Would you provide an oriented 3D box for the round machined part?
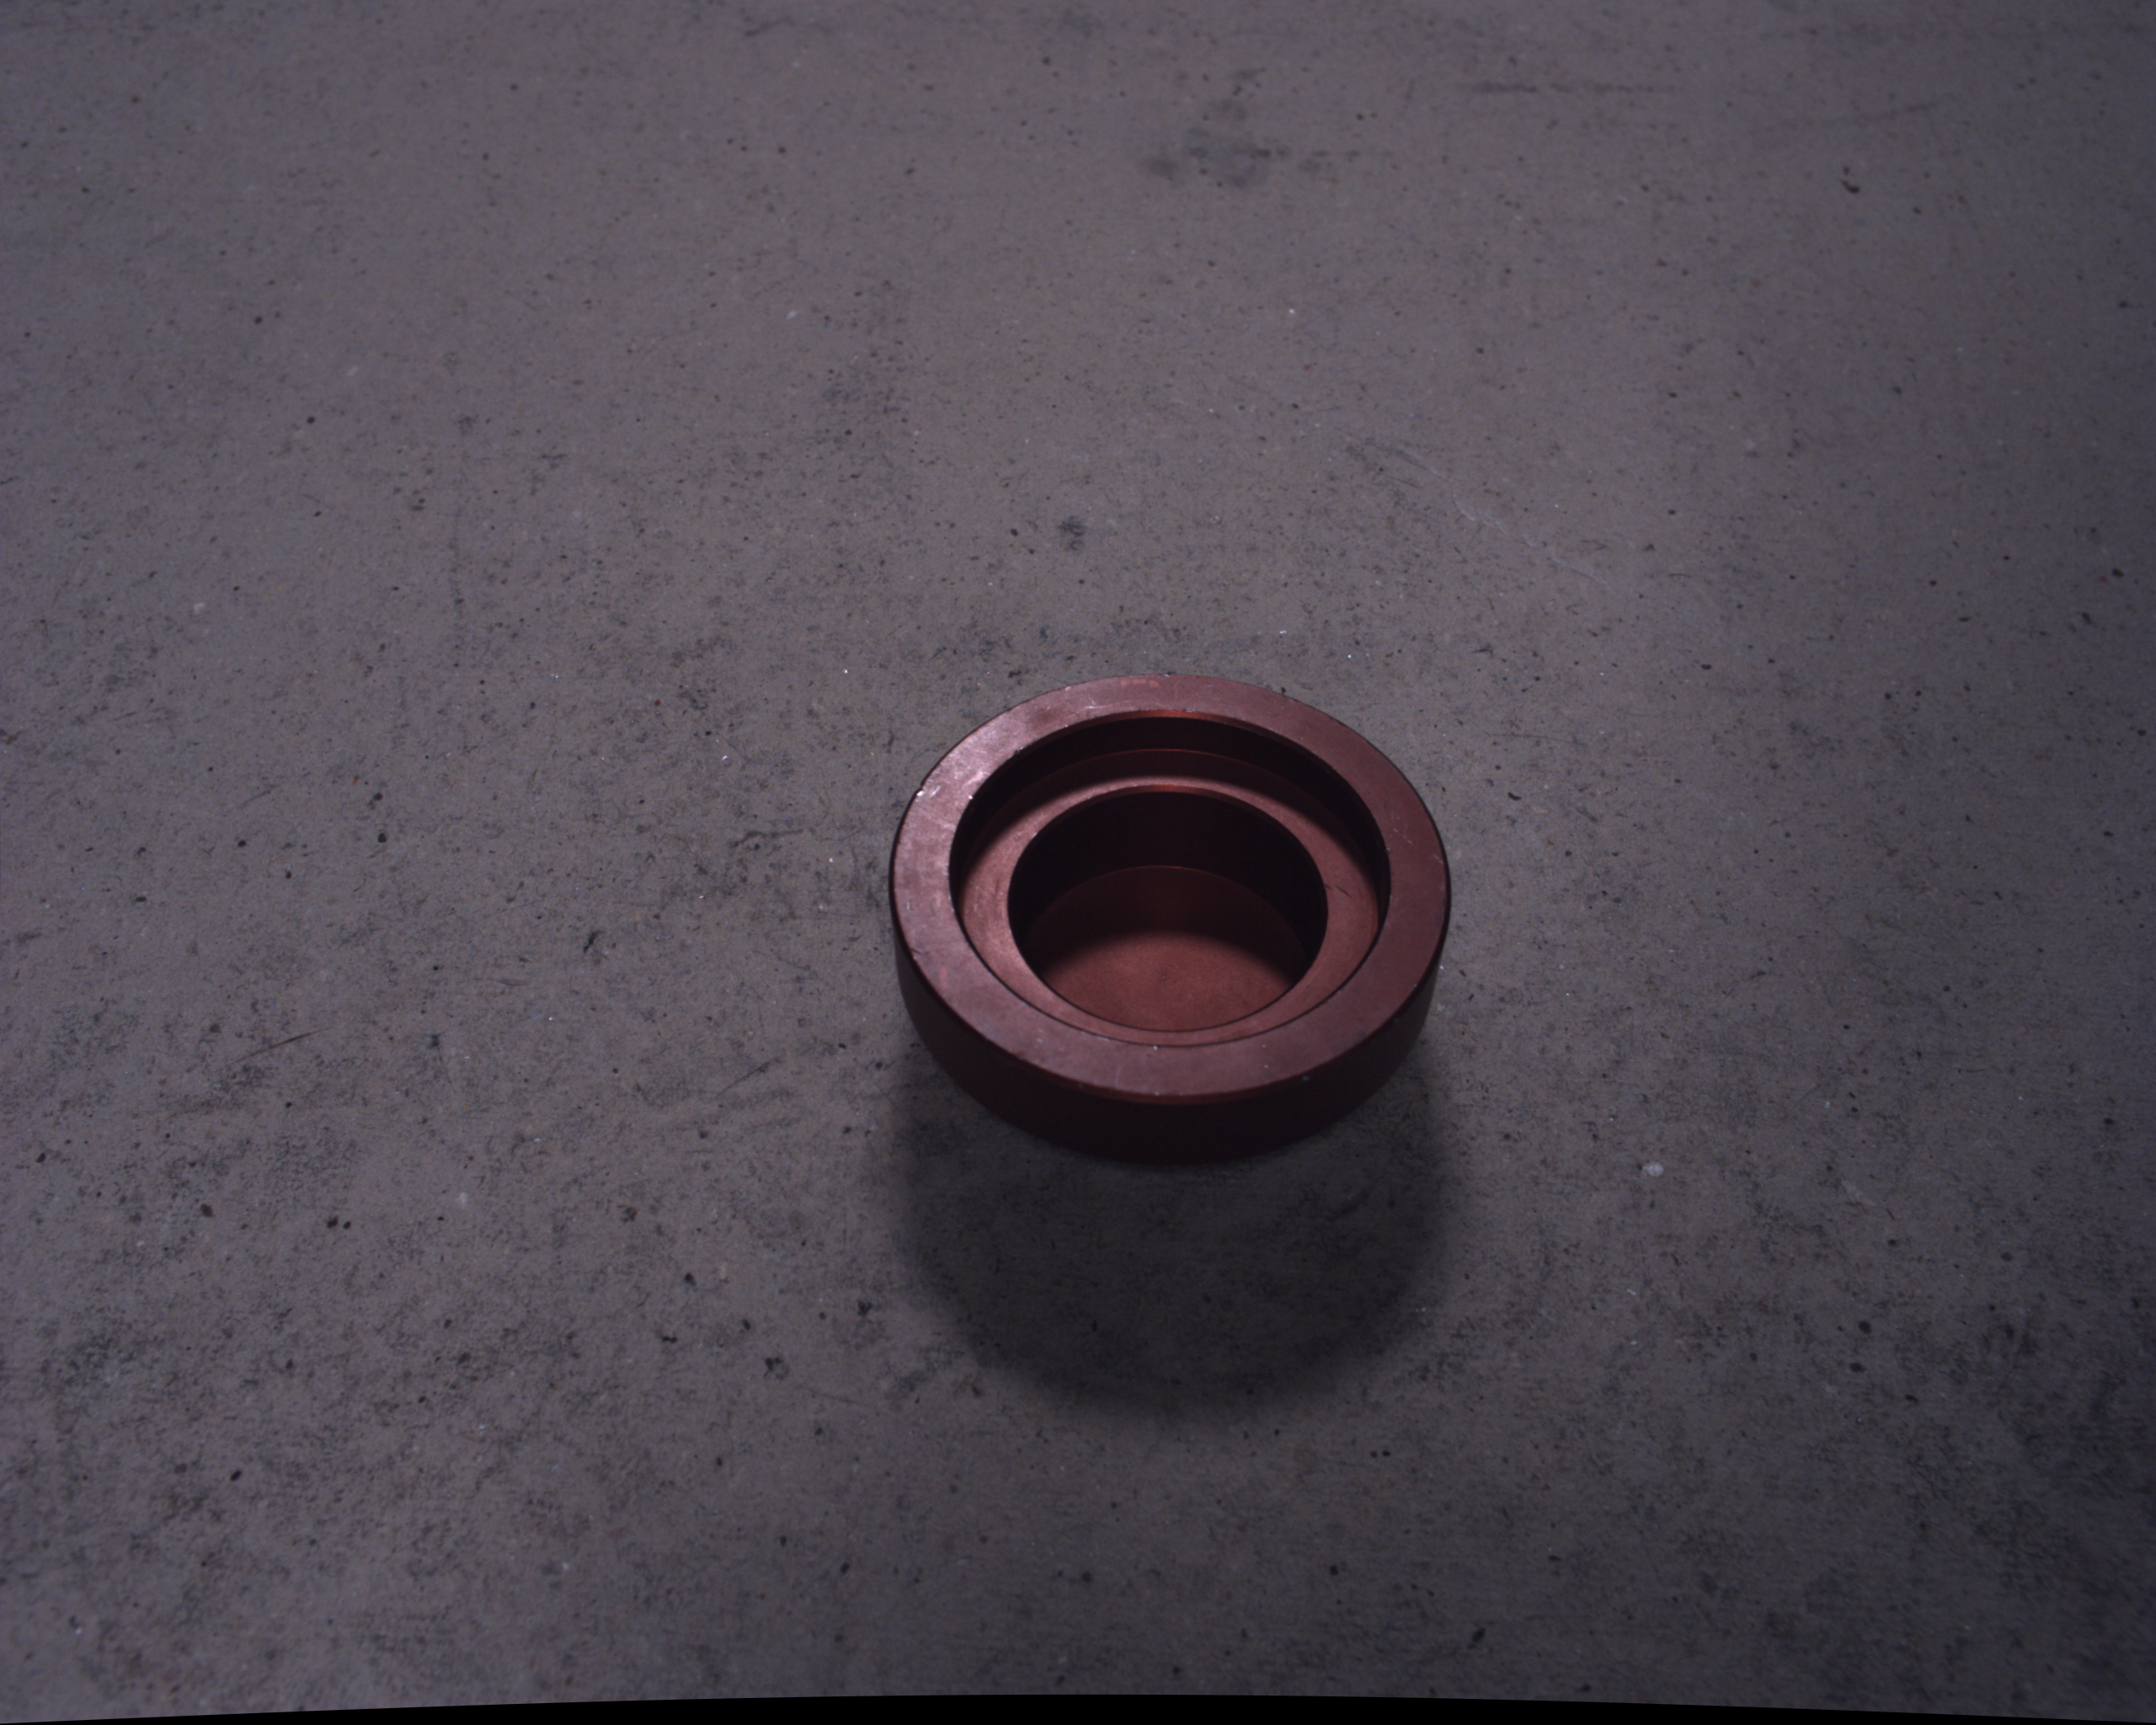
[{"bbox_3d":[0.015,0.014,0.382,0.099,0.042,0.098,0,50,0],"label":"round machined part"}]
